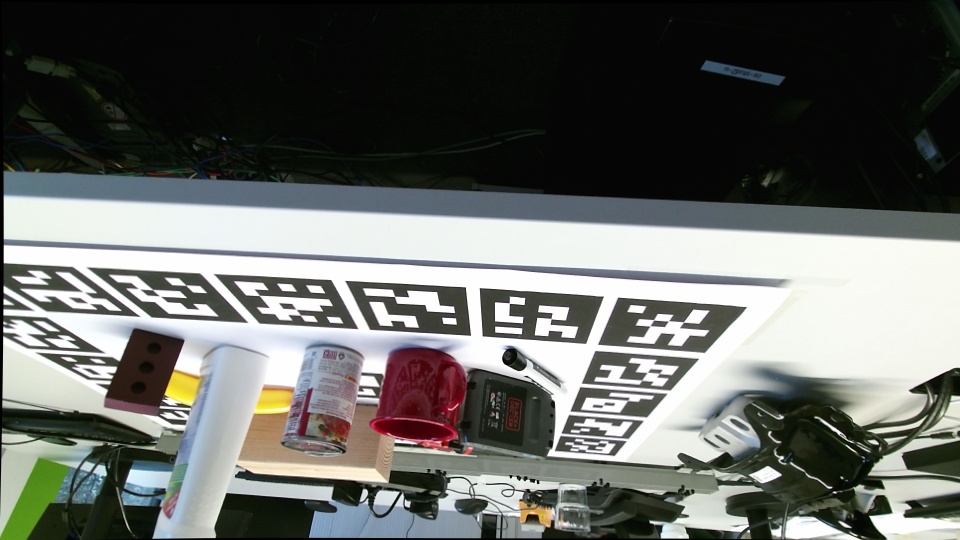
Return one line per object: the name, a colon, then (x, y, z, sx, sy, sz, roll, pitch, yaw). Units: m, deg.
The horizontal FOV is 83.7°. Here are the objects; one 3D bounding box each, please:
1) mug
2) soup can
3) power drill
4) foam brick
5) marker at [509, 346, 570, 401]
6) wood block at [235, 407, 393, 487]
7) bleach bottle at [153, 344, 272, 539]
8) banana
mug: (-0.053, 0.137, 0.573, 0.093, 0.081, 0.117, 31, 136, -31)
soup can: (-0.162, 0.145, 0.575, 0.068, 0.101, 0.068, 5, 151, 3)
power drill: (-0.001, 0.204, 0.703, 0.185, 0.057, 0.187, 22, 145, -19)
foam brick: (-0.365, 0.108, 0.584, 0.053, 0.077, 0.051, 21, 146, -26)
marker: (0.066, 0.113, 0.582, 0.020, 0.019, 0.121, -16, 141, 27)
wood block: (-0.236, 0.251, 0.774, 0.207, 0.090, 0.090, 3, 146, 4)
bleach bottle: (-0.292, 0.211, 0.571, 0.068, 0.249, 0.103, 19, 146, -22)
banana: (-0.317, 0.179, 0.716, 0.198, 0.038, 0.074, 14, 133, -9)
